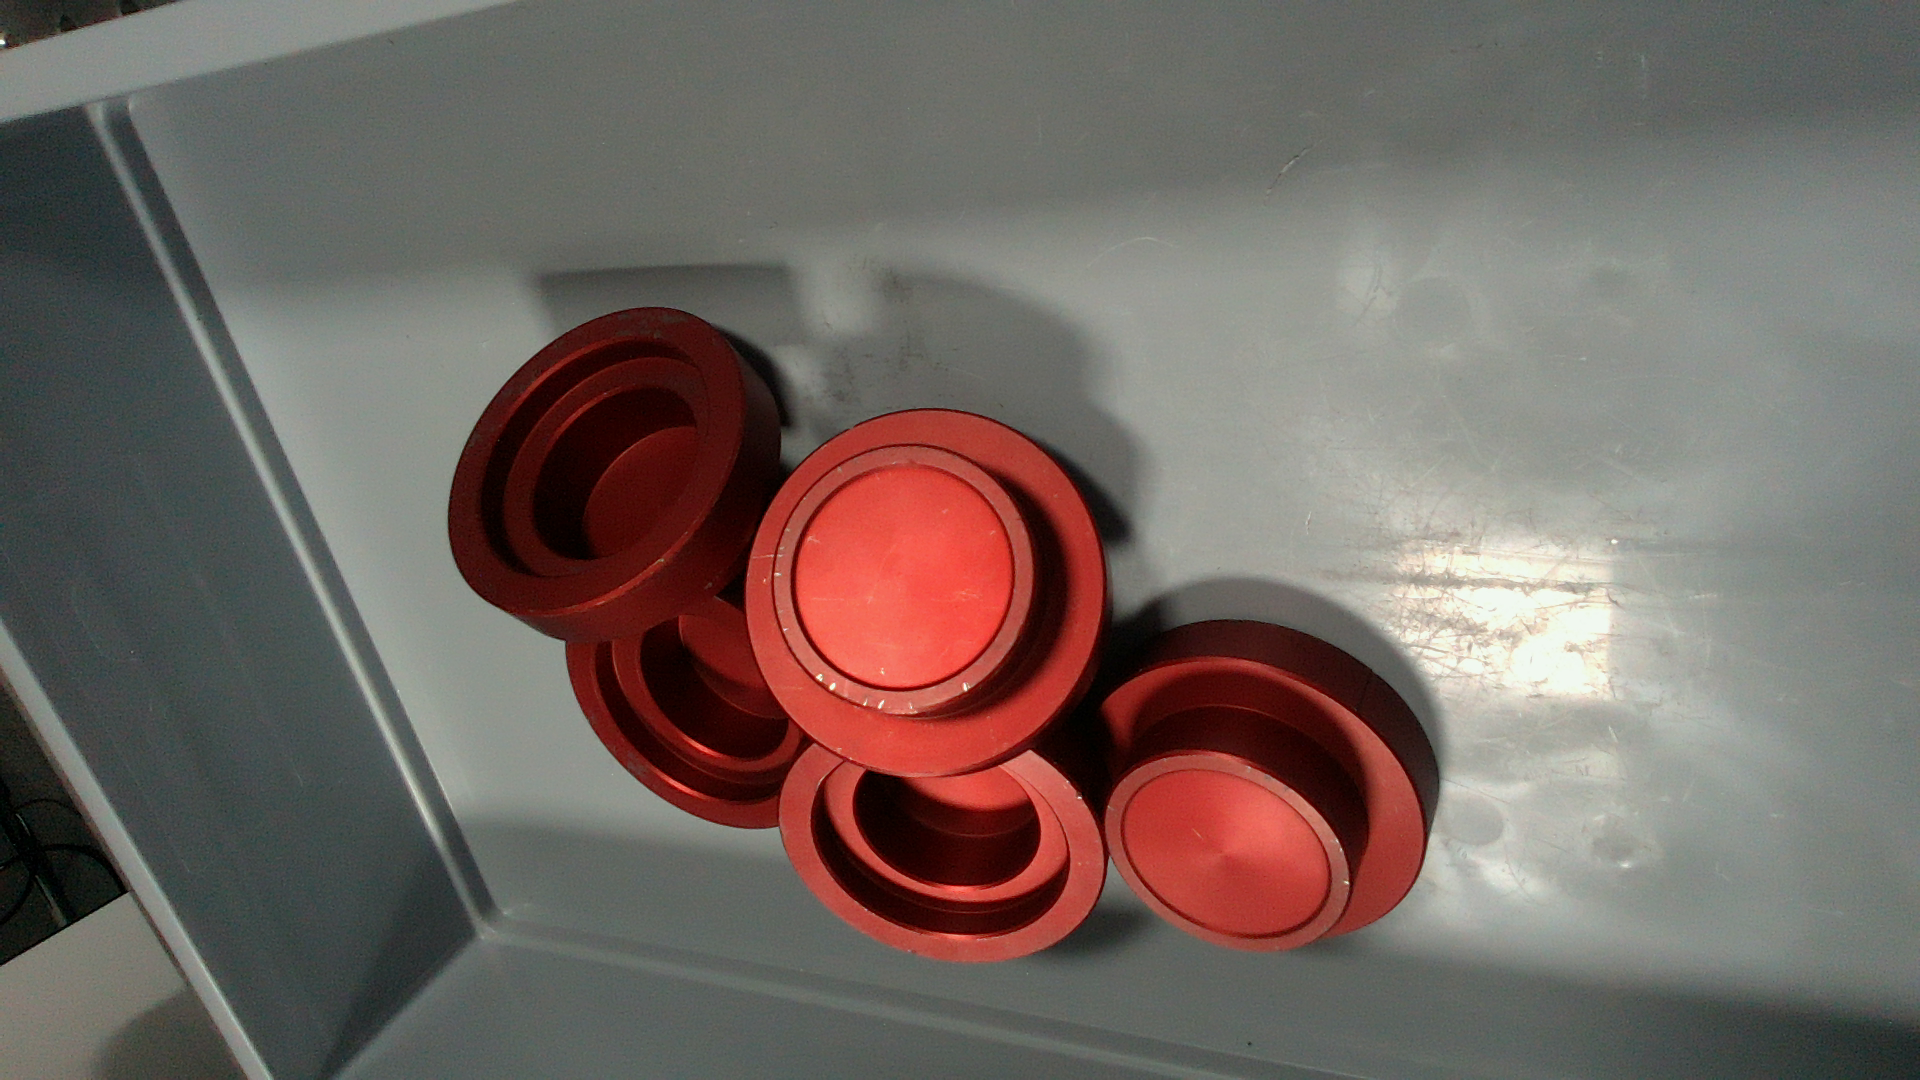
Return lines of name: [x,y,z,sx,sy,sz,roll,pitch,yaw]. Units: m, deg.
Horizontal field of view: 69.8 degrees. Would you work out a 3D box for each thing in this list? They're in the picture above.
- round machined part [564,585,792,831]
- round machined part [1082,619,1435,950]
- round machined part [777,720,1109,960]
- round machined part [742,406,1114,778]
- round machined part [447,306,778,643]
round machined part: [-0.076,0.043,0.446,0.098,0.042,0.098,13,124,21]
round machined part: [0.079,0.074,0.384,0.098,0.042,0.098,13,124,21]
round machined part: [-0.002,0.077,0.414,0.098,0.042,0.098,6,125,9]
round machined part: [-0.011,0.012,0.358,0.098,0.042,0.098,-2,79,11]
round machined part: [-0.095,-0.015,0.399,0.098,0.098,0.042,3,155,27]
